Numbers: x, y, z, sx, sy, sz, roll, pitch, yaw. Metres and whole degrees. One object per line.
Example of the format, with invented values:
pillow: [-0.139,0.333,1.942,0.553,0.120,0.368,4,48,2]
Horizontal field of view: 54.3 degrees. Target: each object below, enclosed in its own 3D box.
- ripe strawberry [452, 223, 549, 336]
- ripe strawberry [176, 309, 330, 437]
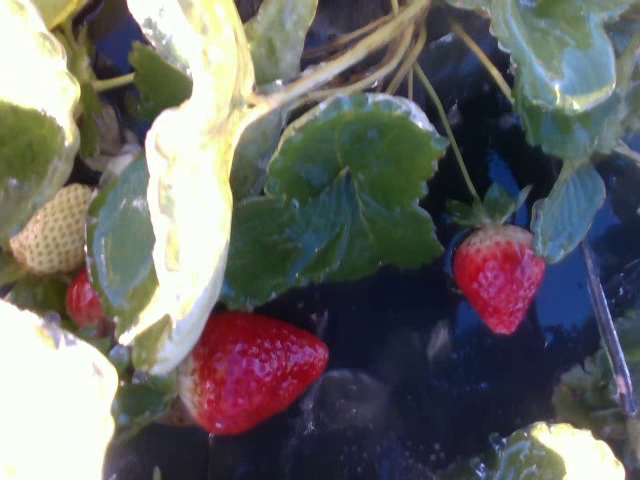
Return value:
ripe strawberry: [0.070,0.016,0.228,0.039,0.047,0.040,-14,19,-26]
ripe strawberry: [-0.017,0.048,0.209,0.056,0.044,0.040,-3,25,-30]
